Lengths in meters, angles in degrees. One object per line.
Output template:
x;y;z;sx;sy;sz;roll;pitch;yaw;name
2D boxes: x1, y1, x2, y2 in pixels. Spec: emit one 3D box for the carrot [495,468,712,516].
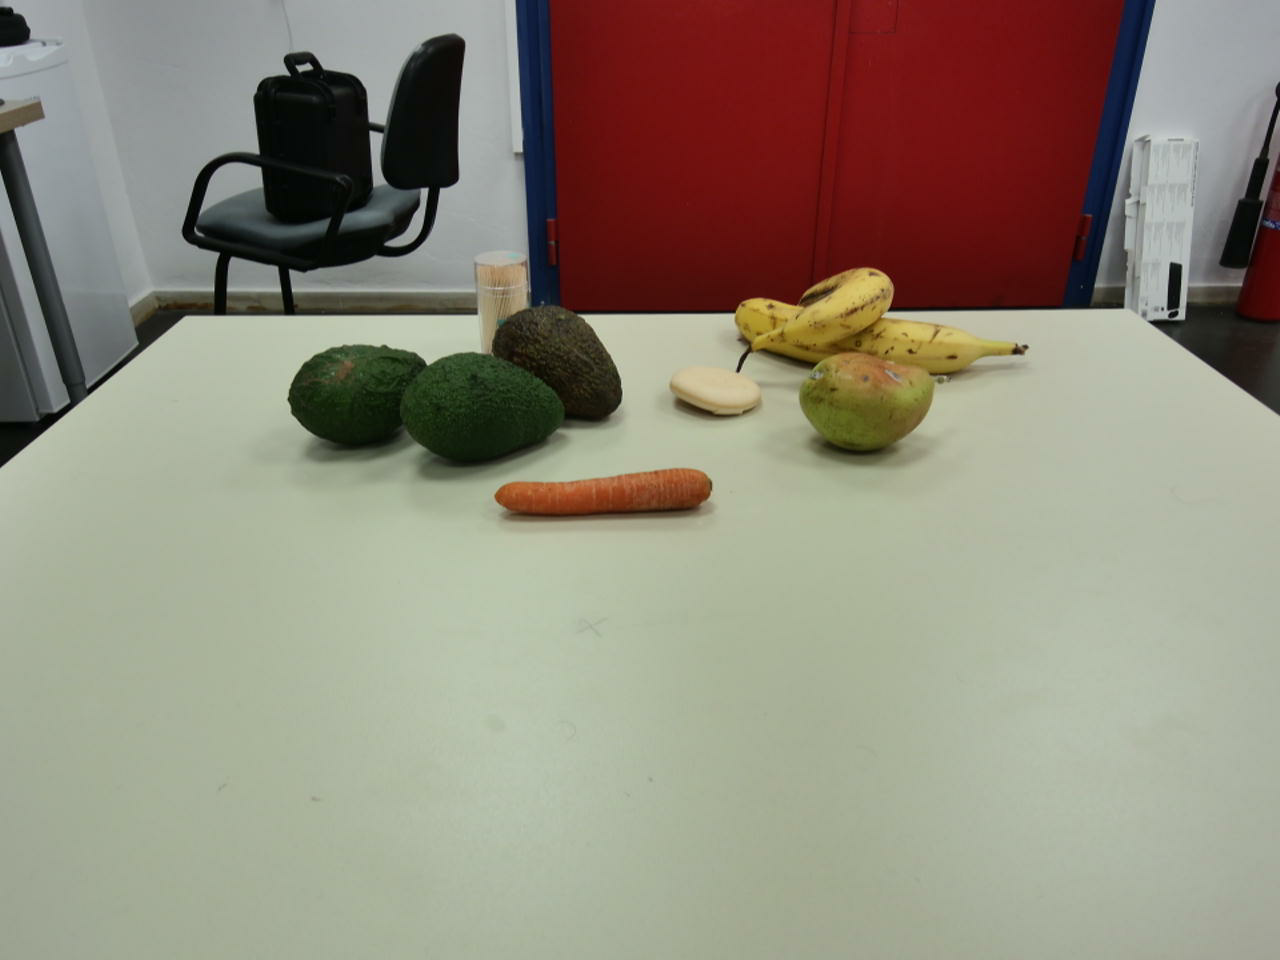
-0.020;0.007;0.560;0.122;0.023;0.024;-1;26;-3;carrot
